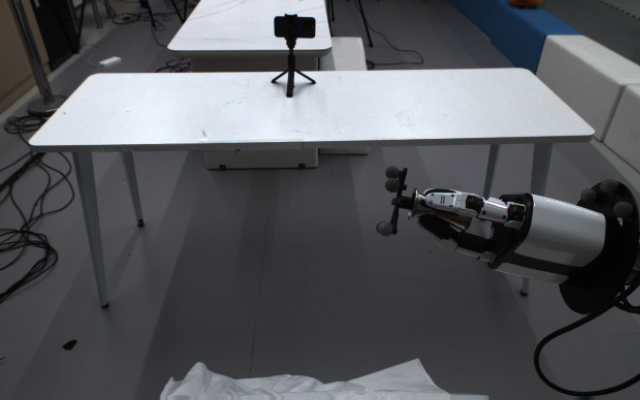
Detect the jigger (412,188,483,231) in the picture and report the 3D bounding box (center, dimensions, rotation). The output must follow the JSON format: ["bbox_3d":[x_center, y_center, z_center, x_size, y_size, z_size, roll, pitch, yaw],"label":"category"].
[{"bbox_3d":[0.150,0.008,0.580,0.071,0.043,0.043,11,35,2],"label":"jigger"}]
